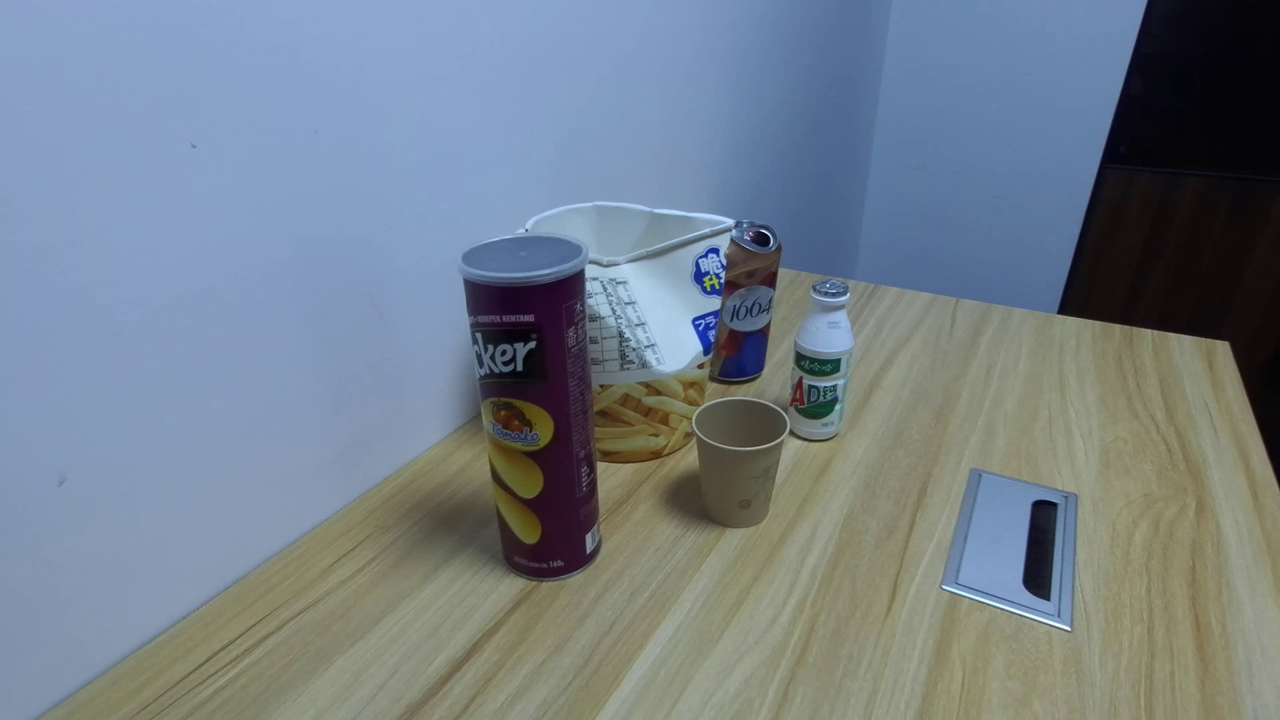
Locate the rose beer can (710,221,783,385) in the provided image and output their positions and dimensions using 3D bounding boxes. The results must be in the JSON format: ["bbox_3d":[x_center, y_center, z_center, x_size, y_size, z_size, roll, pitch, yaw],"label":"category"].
[{"bbox_3d":[0.104,-0.058,0.739,0.070,0.168,0.069,9,33,9],"label":"rose beer can"}]

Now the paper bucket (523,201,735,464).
[{"bbox_3d":[-0.021,-0.022,0.640,0.168,0.202,0.163,11,31,28],"label":"paper bucket"}]

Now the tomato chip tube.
[{"bbox_3d":[-0.068,0.039,0.486,0.078,0.234,0.078,-1,28,1],"label":"tomato chip tube"}]

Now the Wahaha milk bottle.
[{"bbox_3d":[0.165,0.000,0.641,0.053,0.147,0.053,-1,28,1],"label":"Wahaha milk bottle"}]

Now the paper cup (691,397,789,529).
[{"bbox_3d":[0.078,0.083,0.556,0.075,0.082,0.075,0,27,1],"label":"paper cup"}]
